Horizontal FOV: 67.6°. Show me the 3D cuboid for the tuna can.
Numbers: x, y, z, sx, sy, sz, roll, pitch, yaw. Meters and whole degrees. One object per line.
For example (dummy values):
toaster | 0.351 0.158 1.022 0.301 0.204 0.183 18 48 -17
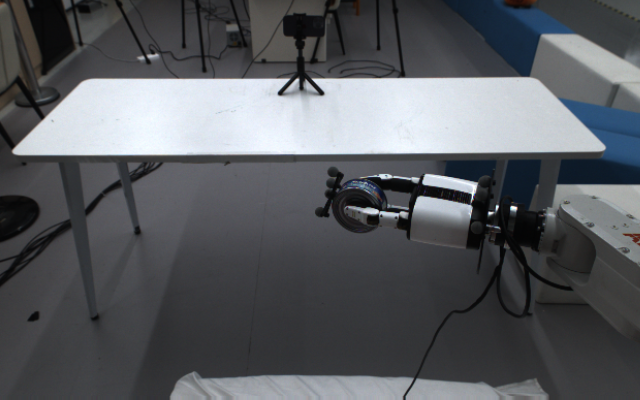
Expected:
tuna can | 0.066 0.010 0.779 0.085 0.085 0.034 12 30 14
